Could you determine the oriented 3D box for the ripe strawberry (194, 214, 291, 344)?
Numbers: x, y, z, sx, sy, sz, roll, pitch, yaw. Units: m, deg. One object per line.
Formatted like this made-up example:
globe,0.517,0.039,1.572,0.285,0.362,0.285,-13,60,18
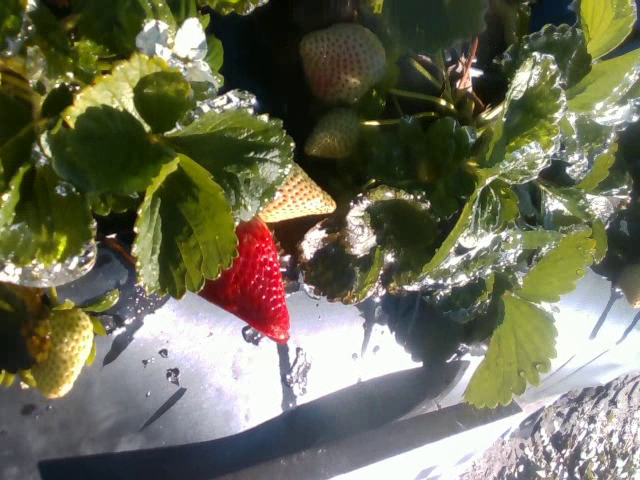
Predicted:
ripe strawberry,-0.027,0.016,0.220,0.040,0.053,0.042,-31,-7,-12
